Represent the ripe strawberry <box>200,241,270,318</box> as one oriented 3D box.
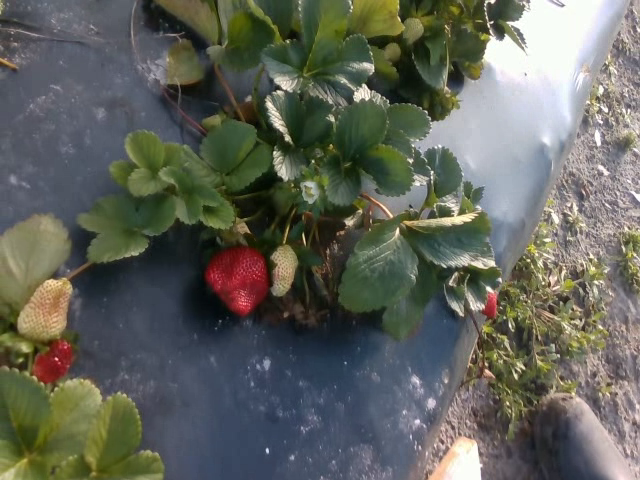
[{"bbox_3d":[-0.068,0.036,0.506,0.057,0.058,0.070,-1,12,14],"label":"ripe strawberry"}]
